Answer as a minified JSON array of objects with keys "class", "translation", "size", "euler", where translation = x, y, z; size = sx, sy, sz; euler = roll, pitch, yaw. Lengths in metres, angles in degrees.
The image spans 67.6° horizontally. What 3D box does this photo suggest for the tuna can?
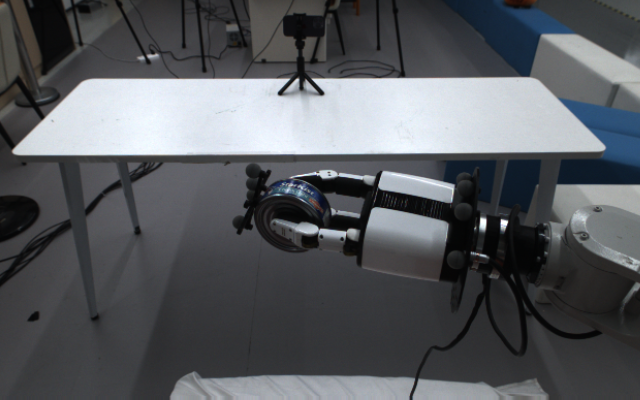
[{"class":"tuna can","translation":[-0.029,0.024,0.558],"size":[0.085,0.085,0.034],"euler":[10,35,11]}]
